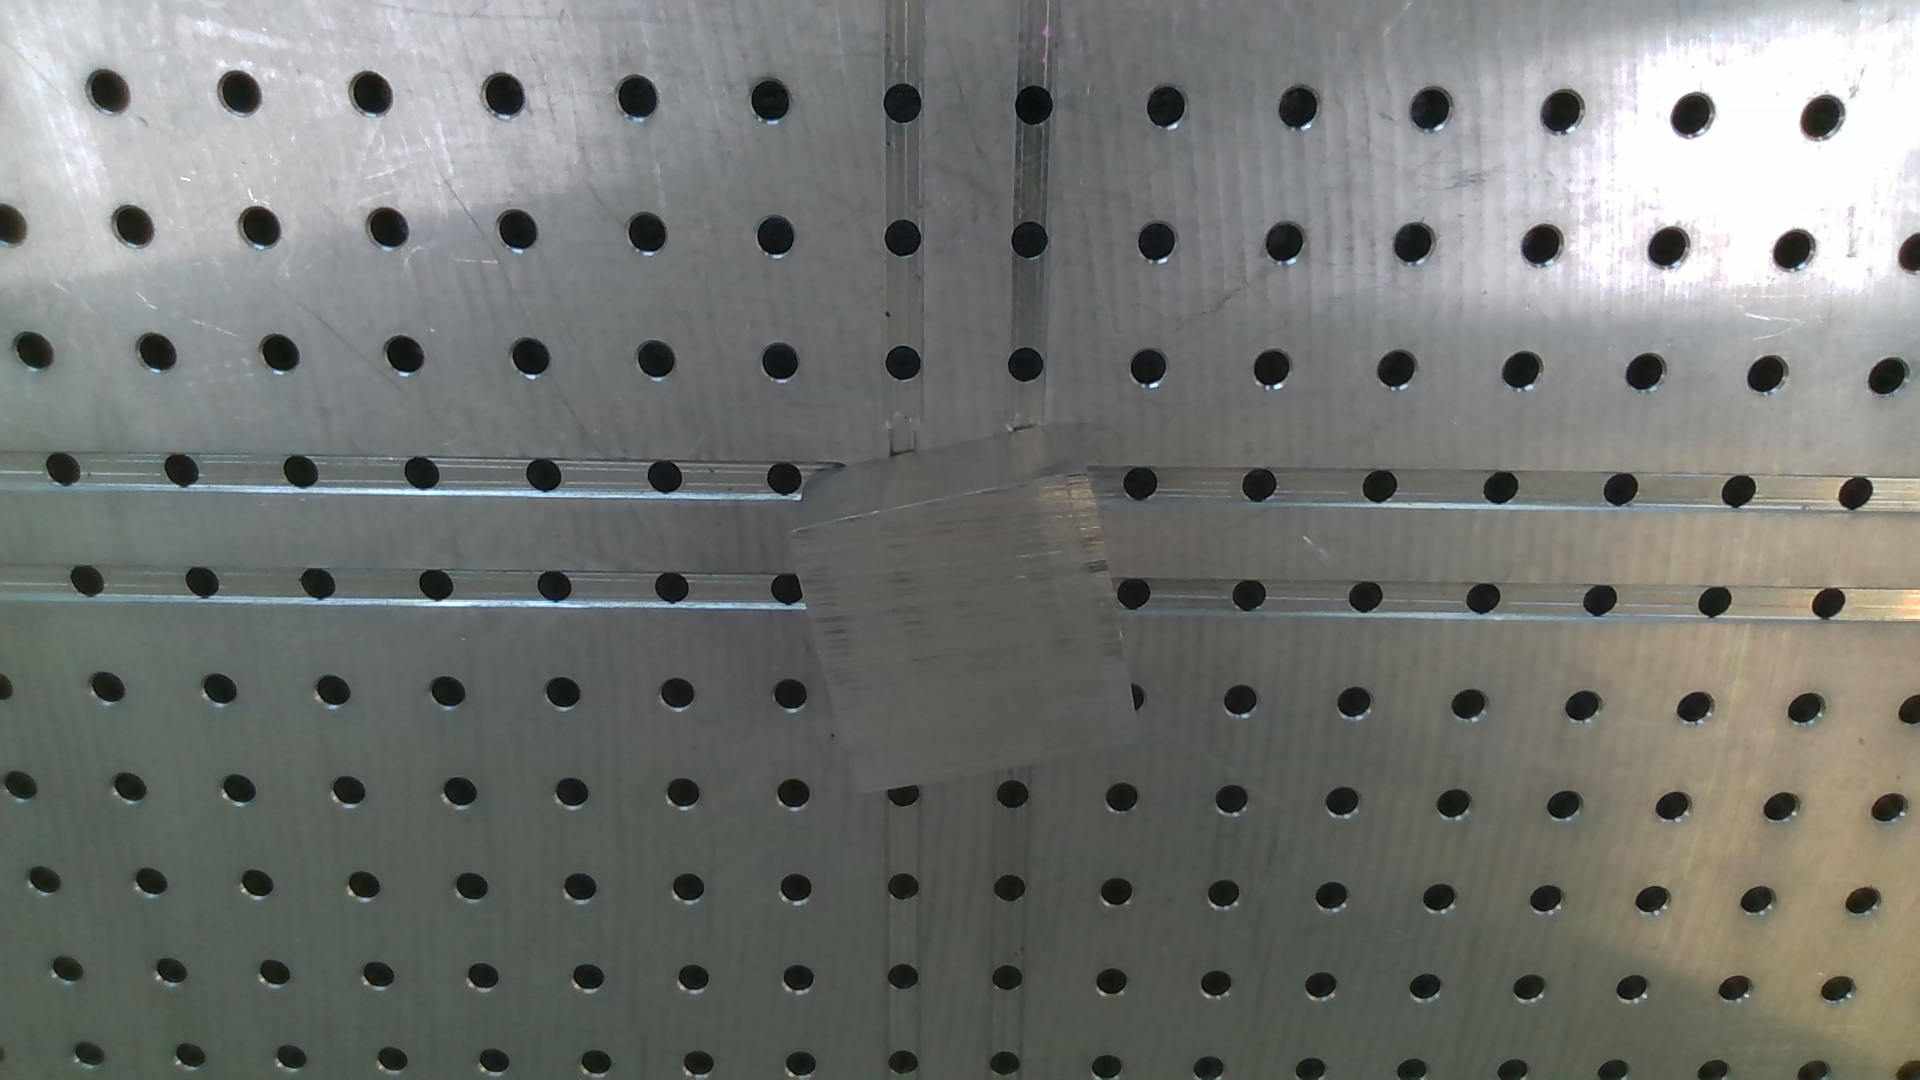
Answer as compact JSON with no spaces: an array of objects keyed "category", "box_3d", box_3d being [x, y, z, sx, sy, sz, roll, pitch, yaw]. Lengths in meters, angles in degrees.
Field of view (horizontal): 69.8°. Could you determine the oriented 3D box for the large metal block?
[{"category":"large metal block","box_3d":[0.002,0.018,0.388,0.080,0.050,0.080,-11,110,4]}]
